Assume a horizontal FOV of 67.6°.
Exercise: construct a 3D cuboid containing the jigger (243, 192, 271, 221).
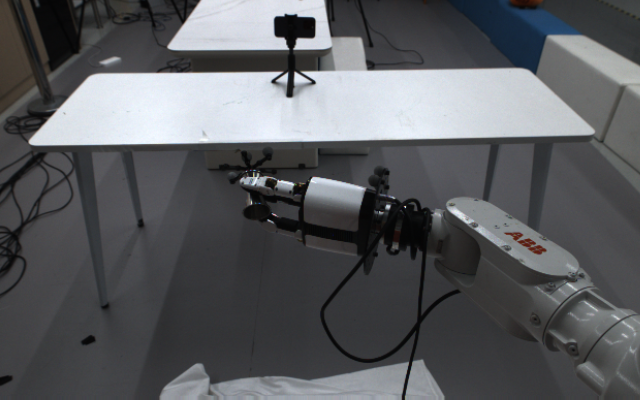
[{"bbox_3d":[-0.102,-0.009,0.752,0.043,0.043,0.071,-6,57,-12],"label":"jigger"}]
